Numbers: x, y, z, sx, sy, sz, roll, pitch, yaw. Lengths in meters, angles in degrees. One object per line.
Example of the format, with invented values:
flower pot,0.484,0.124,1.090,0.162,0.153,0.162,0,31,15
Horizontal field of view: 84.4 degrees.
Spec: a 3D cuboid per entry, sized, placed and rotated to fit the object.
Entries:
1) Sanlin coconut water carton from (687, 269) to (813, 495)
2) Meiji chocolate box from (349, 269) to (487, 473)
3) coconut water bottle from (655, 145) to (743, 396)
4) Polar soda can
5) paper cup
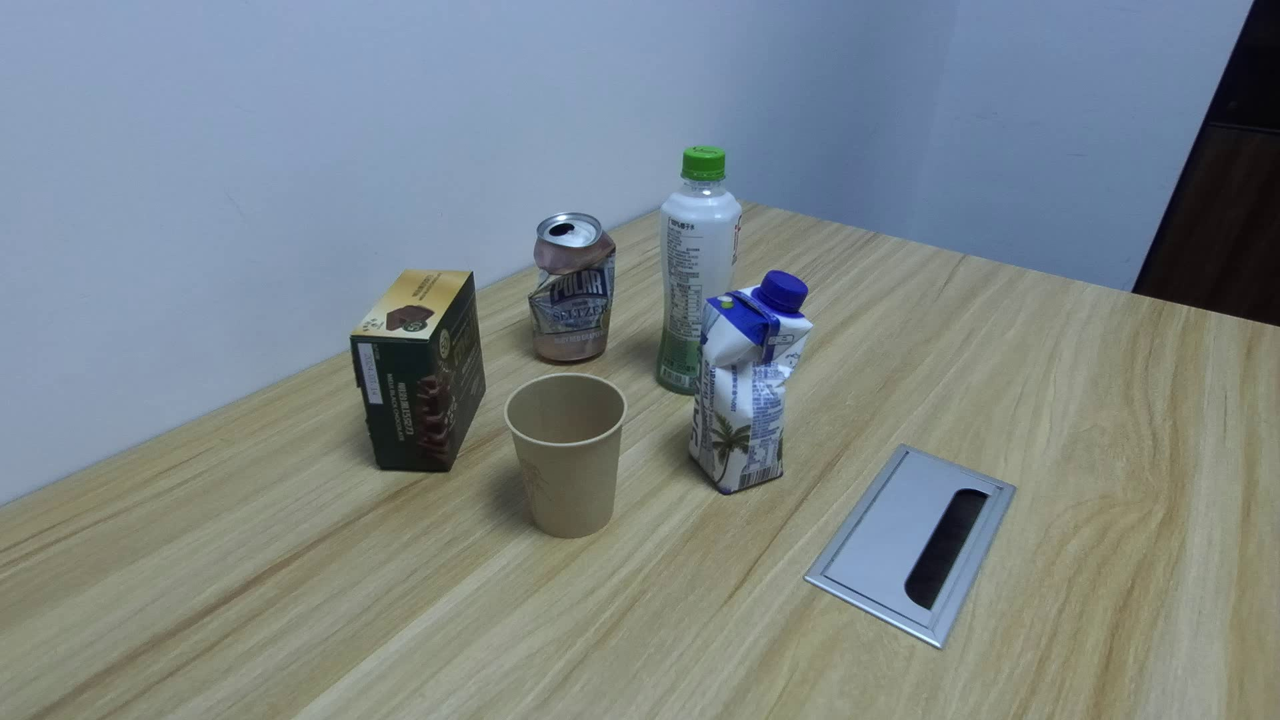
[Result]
Sanlin coconut water carton,0.070,0.015,0.461,0.070,0.144,0.060,-13,34,-22
Meiji chocolate box,-0.155,0.005,0.515,0.056,0.109,0.110,2,31,3
coconut water bottle,0.047,-0.067,0.550,0.063,0.189,0.063,1,29,0
Polar soda can,-0.060,-0.058,0.608,0.066,0.122,0.071,19,36,21
paper cup,-0.045,0.063,0.444,0.075,0.082,0.075,0,32,0
